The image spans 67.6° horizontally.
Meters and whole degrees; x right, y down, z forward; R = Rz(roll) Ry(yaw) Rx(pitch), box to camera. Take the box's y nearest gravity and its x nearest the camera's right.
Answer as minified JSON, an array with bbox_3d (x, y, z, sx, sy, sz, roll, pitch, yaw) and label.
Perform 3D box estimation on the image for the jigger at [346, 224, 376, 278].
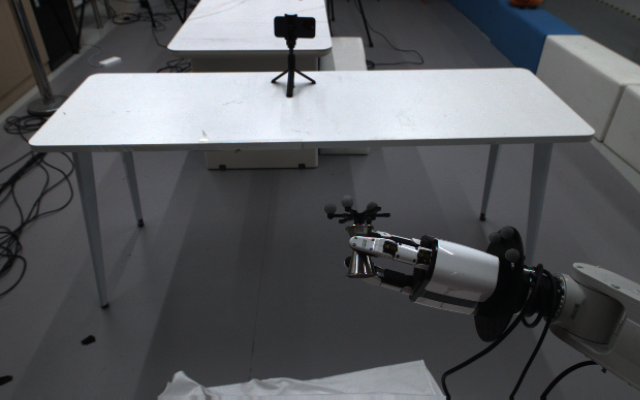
[{"bbox_3d":[0.056,0.068,0.660,0.043,0.043,0.071,0,75,-3],"label":"jigger"}]
